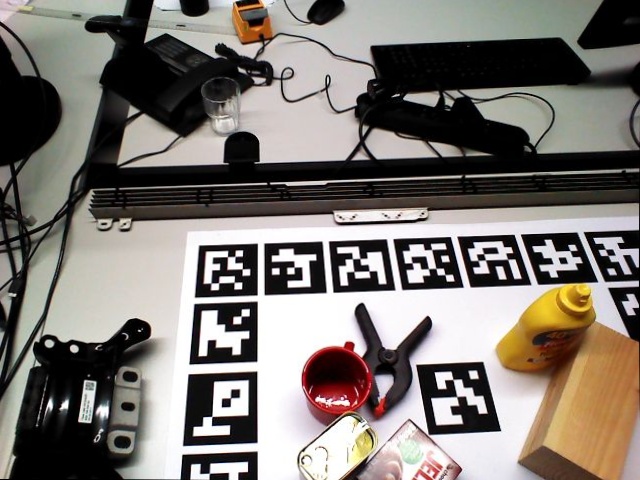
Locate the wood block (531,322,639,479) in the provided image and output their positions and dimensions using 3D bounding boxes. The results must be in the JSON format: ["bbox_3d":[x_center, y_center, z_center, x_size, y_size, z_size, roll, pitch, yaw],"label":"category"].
[{"bbox_3d":[0.369,0.223,0.679,0.090,0.091,0.205,29,58,20],"label":"wood block"}]

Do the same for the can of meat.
[{"bbox_3d":[0.022,0.269,0.639,0.101,0.084,0.058,-28,62,-18],"label":"can of meat"}]

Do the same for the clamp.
[{"bbox_3d":[0.109,0.163,0.752,0.122,0.037,0.164,15,59,8],"label":"clamp"}]

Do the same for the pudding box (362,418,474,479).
[{"bbox_3d":[0.121,0.299,0.653,0.113,0.039,0.090,-37,64,-24],"label":"pudding box"}]

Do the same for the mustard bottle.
[{"bbox_3d":[0.324,0.108,0.690,0.096,0.192,0.058,-6,56,-4],"label":"mustard bottle"}]

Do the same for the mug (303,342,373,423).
[{"bbox_3d":[0.028,0.196,0.723,0.093,0.082,0.116,17,59,11],"label":"mug"}]
